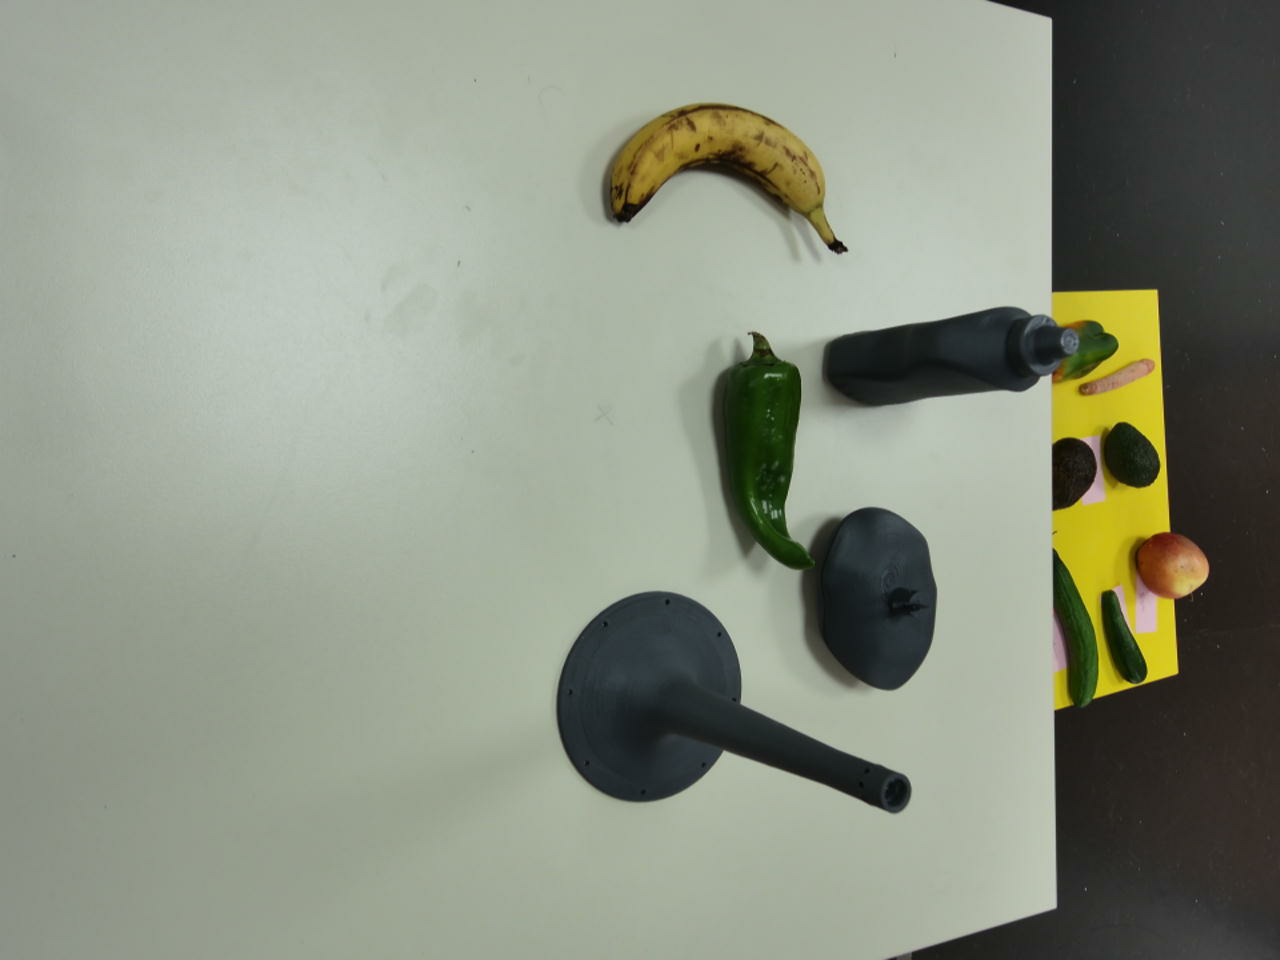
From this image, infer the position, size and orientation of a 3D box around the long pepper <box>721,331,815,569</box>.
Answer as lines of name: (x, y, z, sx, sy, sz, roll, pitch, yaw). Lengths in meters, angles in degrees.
long pepper: (0.093, -0.022, 0.724, 0.058, 0.065, 0.175, -3, 92, -28)
